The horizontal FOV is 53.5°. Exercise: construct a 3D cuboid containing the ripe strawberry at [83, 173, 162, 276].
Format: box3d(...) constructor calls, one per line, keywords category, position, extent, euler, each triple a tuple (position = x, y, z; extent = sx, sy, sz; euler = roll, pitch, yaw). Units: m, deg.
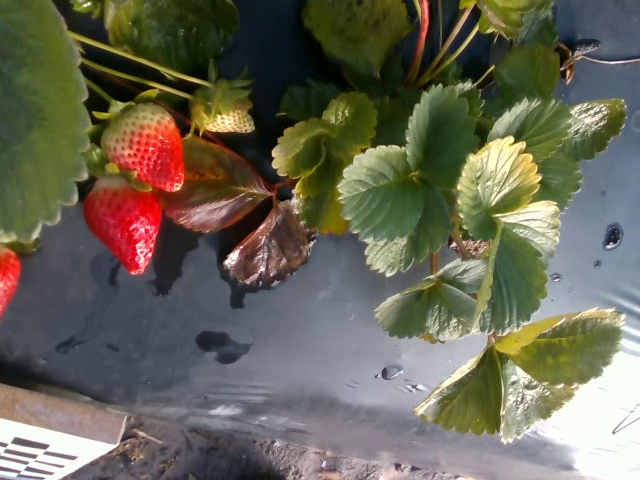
box3d(category="ripe strawberry", position=(-0.102, -0.006, 0.325), extent=(0.045, 0.055, 0.042), euler=(-13, 2, 32))
